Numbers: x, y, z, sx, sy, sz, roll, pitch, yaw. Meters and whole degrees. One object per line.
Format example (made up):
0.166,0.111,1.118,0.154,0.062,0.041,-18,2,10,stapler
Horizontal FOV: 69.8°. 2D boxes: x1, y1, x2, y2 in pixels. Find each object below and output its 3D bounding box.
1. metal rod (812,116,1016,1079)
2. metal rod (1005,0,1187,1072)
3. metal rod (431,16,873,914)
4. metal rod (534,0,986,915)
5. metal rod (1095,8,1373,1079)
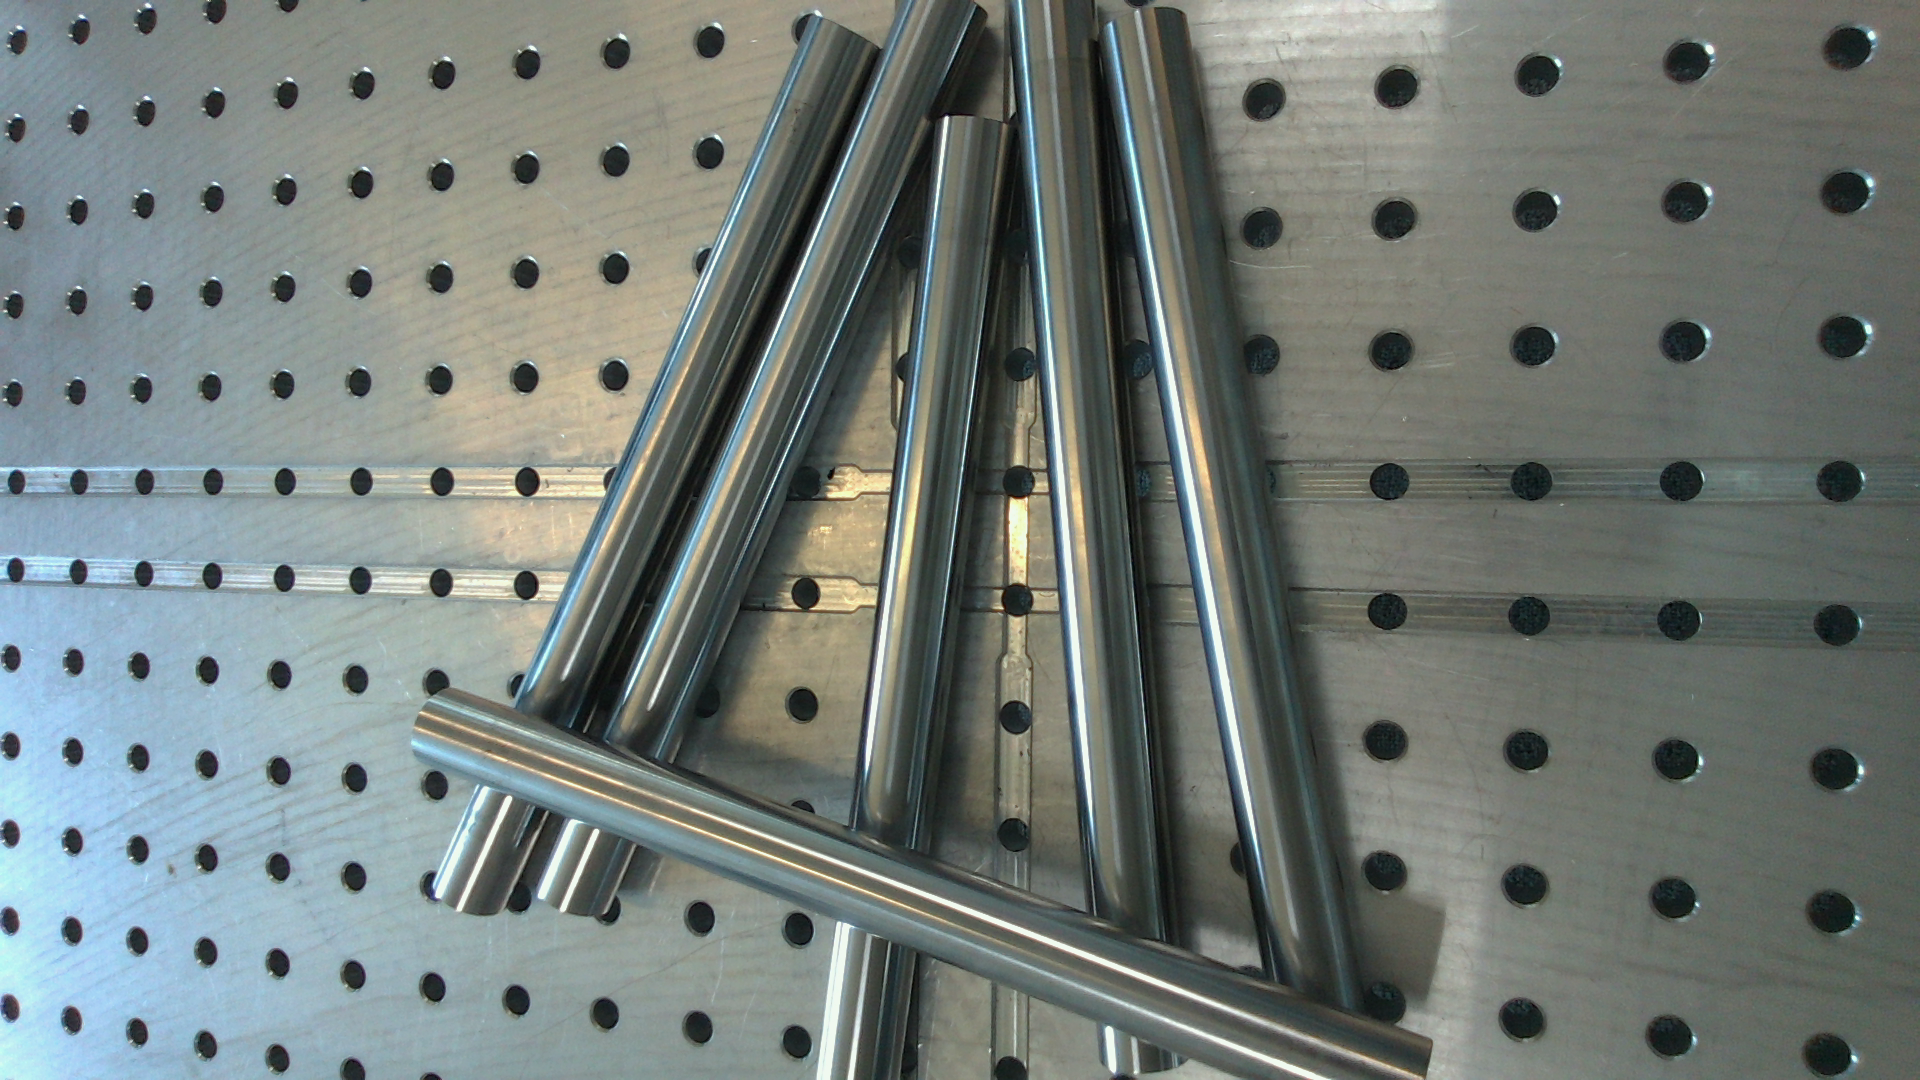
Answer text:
-0.015,0.030,0.404,0.025,0.025,0.300,8,93,20,metal rod
0.038,-0.007,0.385,0.025,0.025,0.300,-5,88,20,metal rod
-0.099,-0.017,0.433,0.025,0.025,0.300,29,99,18,metal rod
-0.064,-0.021,0.422,0.025,0.025,0.300,27,99,18,metal rod
0.074,0.007,0.372,0.025,0.025,0.300,-11,87,20,metal rod
